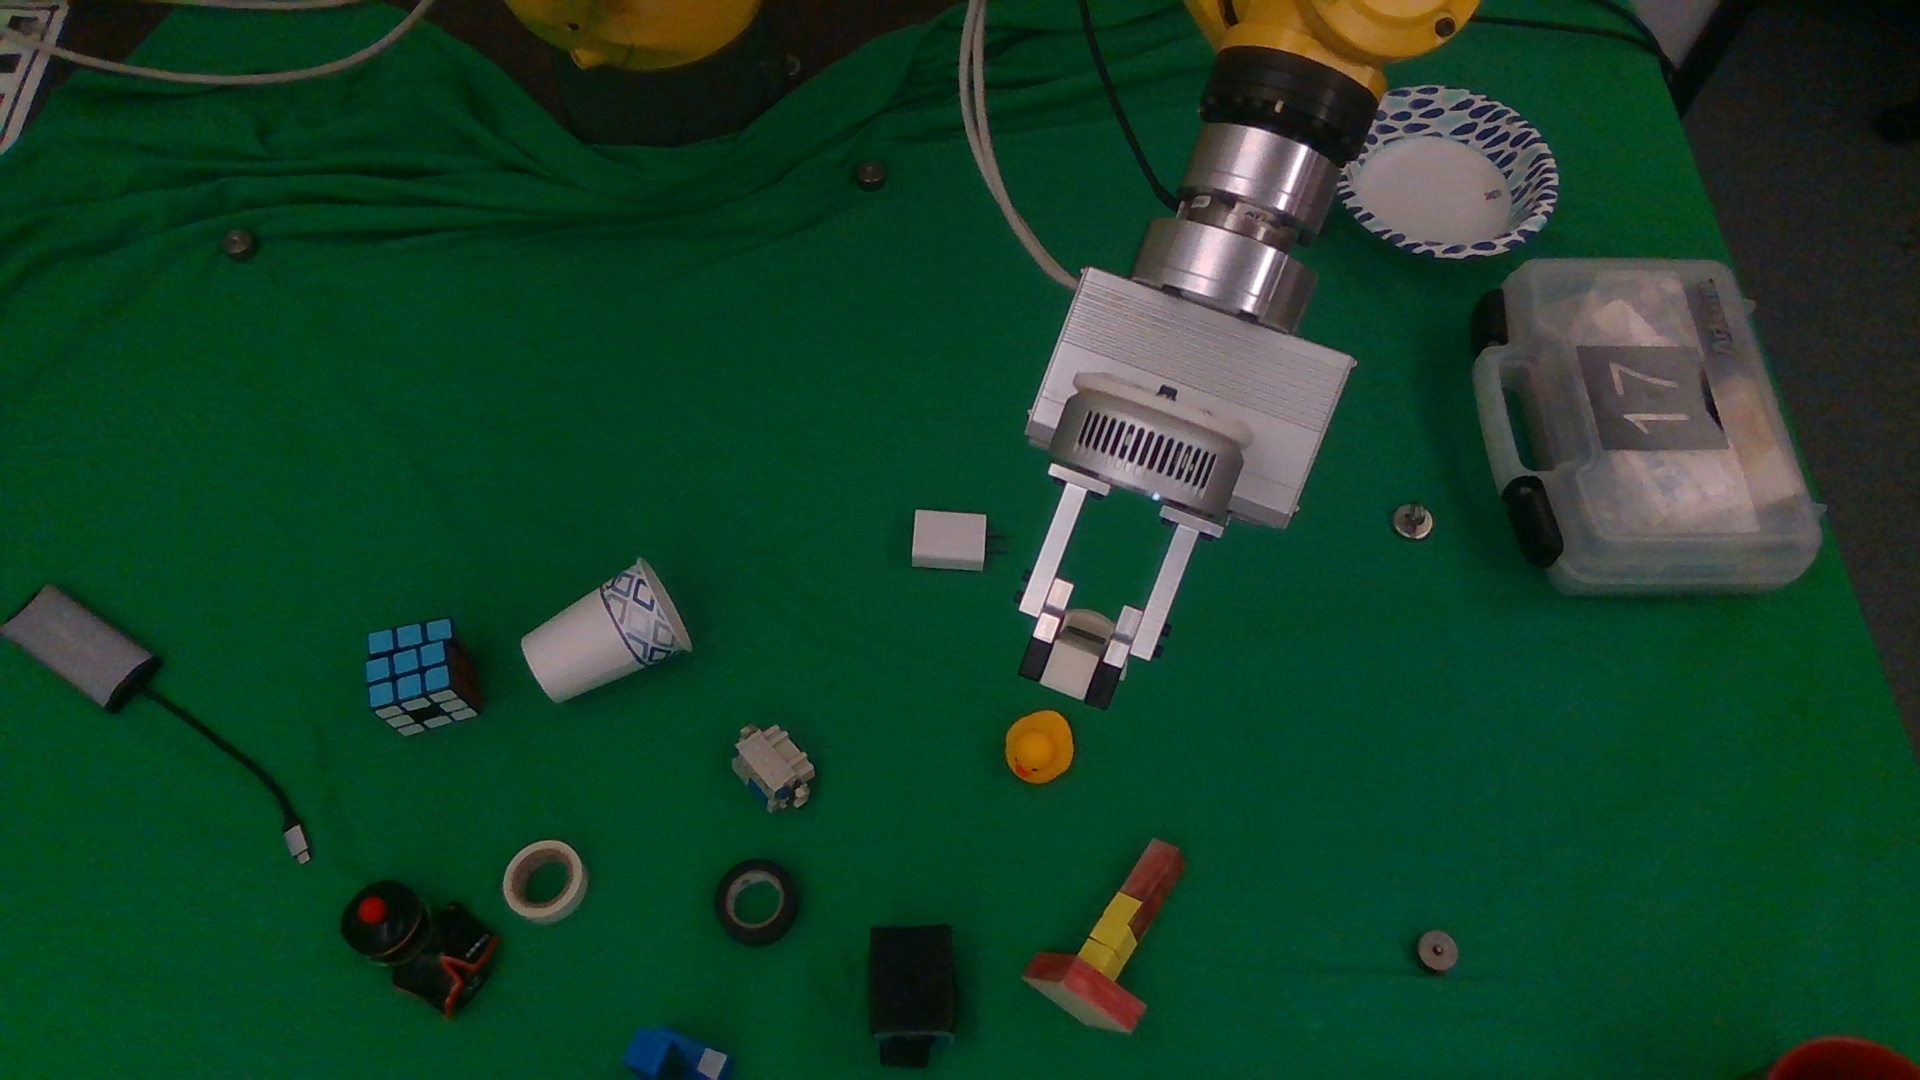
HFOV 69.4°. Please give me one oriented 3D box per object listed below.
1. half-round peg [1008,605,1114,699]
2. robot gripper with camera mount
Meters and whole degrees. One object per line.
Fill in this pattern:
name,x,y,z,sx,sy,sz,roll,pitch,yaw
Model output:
half-round peg,0.043,0.052,0.644,0.054,0.122,0.031,20,96,8
robot gripper with camera mount,0.052,-0.008,0.504,0.119,0.193,0.158,21,95,5
